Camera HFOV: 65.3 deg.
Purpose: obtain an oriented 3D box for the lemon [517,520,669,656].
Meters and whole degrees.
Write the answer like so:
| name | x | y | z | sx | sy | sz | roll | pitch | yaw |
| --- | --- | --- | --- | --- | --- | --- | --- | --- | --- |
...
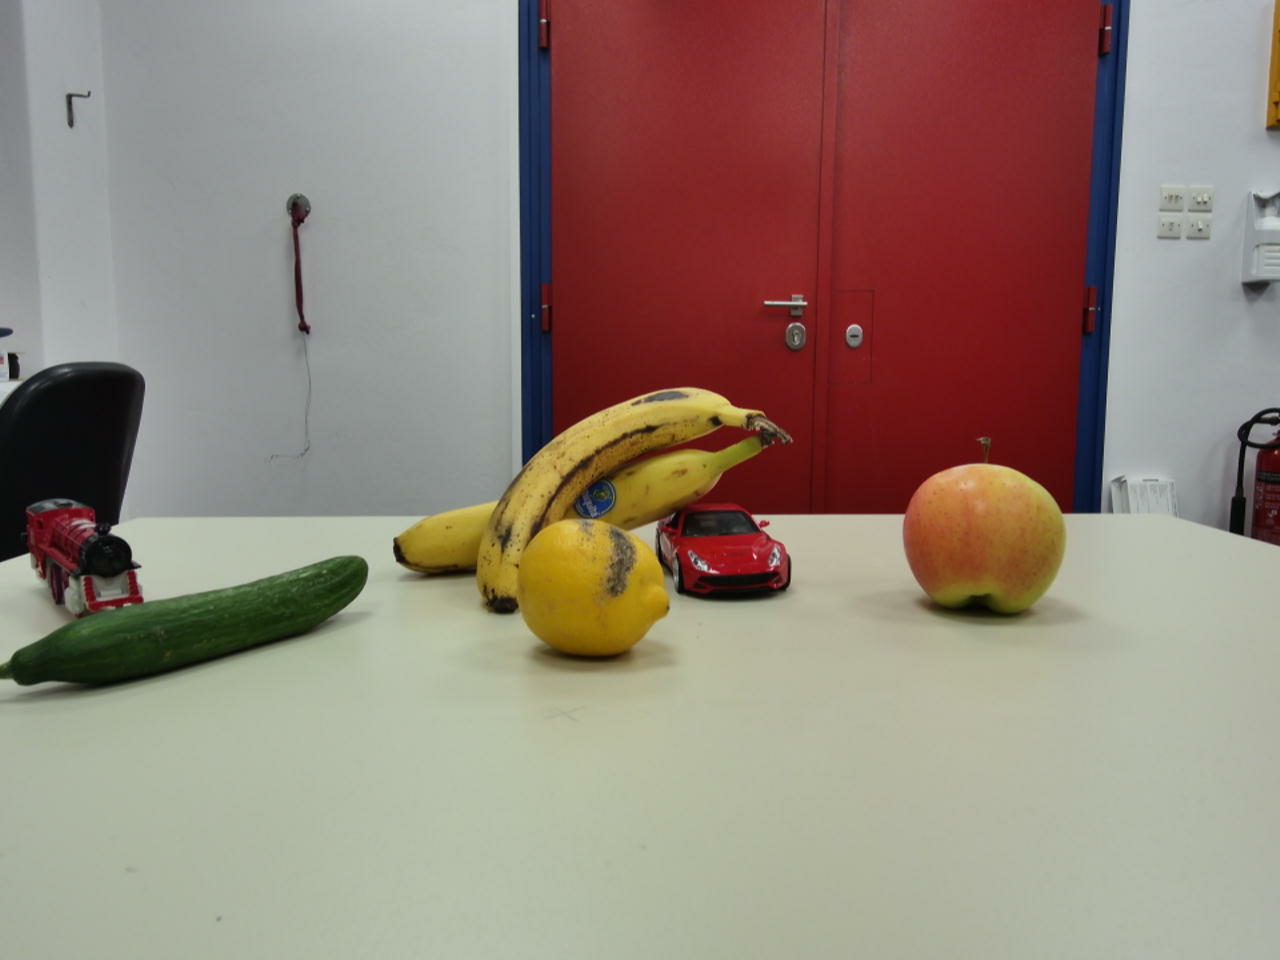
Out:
| name | x | y | z | sx | sy | sz | roll | pitch | yaw |
| --- | --- | --- | --- | --- | --- | --- | --- | --- | --- |
| lemon | -0.021 | 0.045 | 0.419 | 0.061 | 0.056 | 0.058 | 0 | 4 | -8 |
